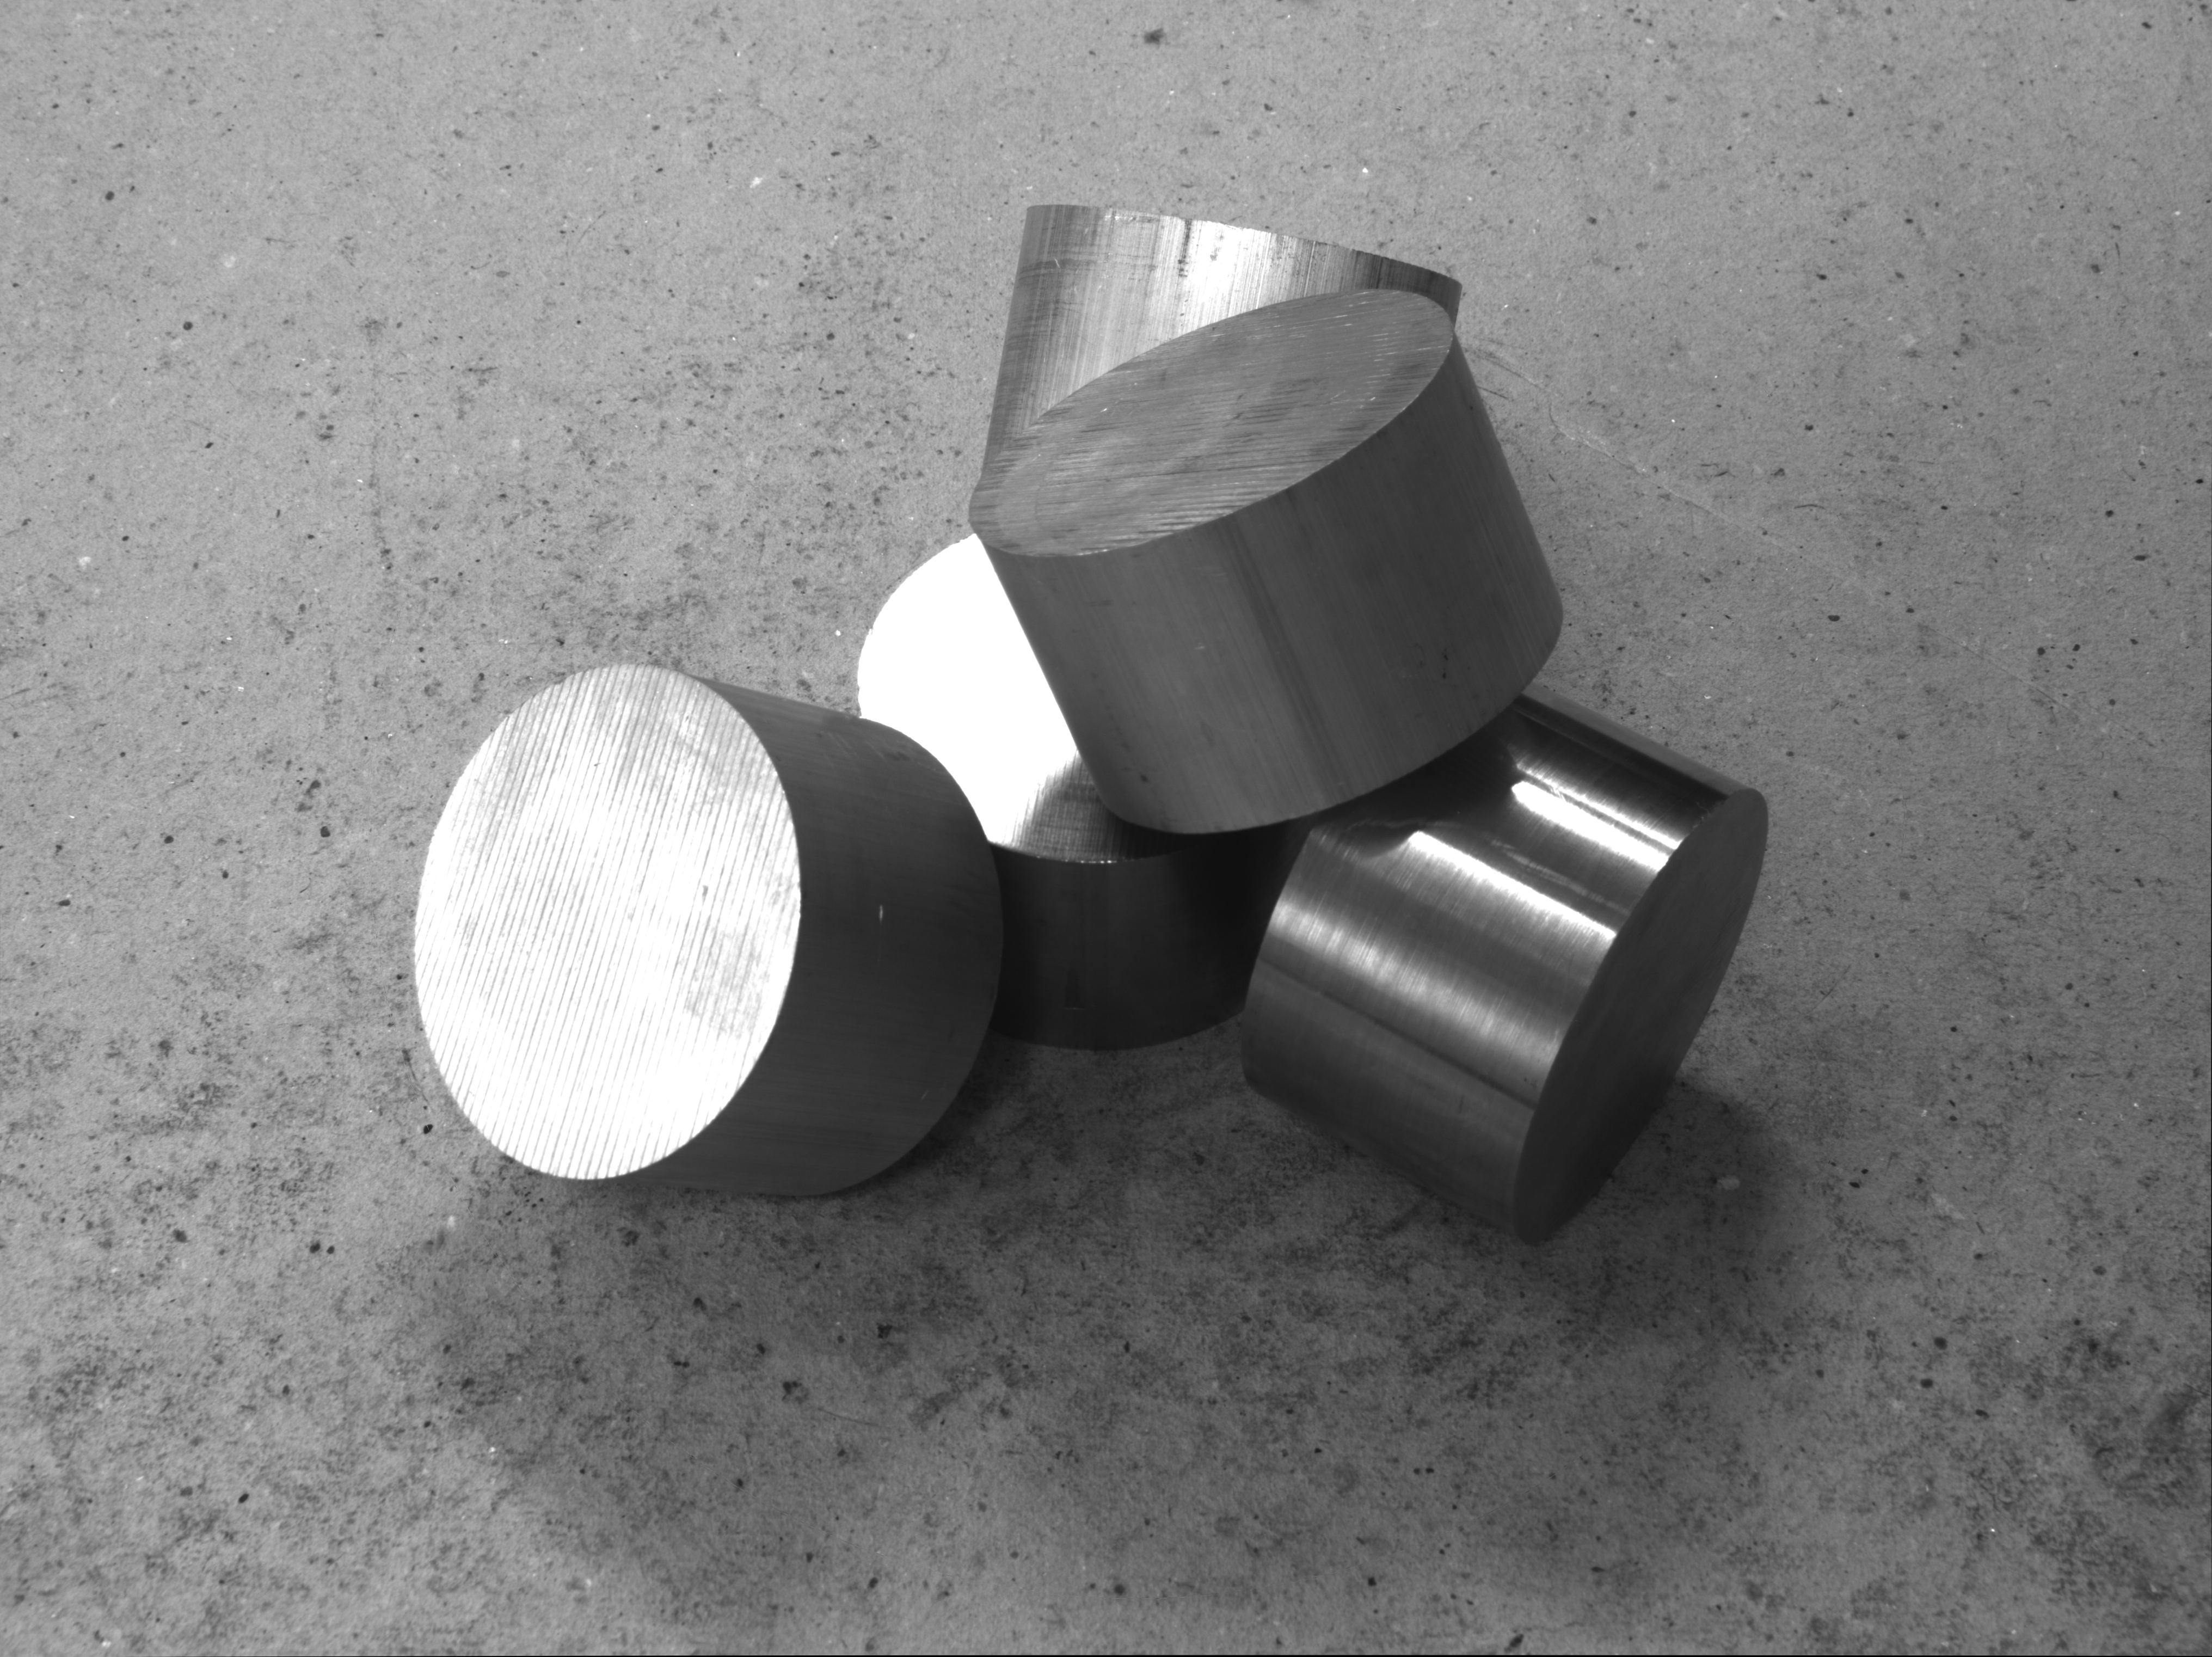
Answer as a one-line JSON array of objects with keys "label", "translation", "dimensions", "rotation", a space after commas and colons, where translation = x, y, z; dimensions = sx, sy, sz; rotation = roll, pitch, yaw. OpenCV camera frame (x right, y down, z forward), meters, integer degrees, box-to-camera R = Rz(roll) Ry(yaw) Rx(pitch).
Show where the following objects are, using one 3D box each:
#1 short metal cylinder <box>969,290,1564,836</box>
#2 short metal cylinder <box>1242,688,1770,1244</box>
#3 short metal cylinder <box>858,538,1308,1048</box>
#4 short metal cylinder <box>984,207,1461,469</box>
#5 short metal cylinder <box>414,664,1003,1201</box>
[{"label": "short metal cylinder", "translation": [0.025, -0.042, 0.574], "dimensions": [0.080, 0.050, 0.080], "rotation": [-20, 26, 11]}, {"label": "short metal cylinder", "translation": [0.065, 0.019, 0.589], "dimensions": [0.050, 0.080, 0.080], "rotation": [28, 55, 22]}, {"label": "short metal cylinder", "translation": [-0.001, -0.009, 0.633], "dimensions": [0.080, 0.050, 0.080], "rotation": [0, 49, 0]}, {"label": "short metal cylinder", "translation": [0.021, -0.080, 0.666], "dimensions": [0.080, 0.080, 0.050], "rotation": [11, 94, 9]}, {"label": "short metal cylinder", "translation": [-0.063, 0.018, 0.584], "dimensions": [0.080, 0.050, 0.080], "rotation": [-7, 78, 34]}]
